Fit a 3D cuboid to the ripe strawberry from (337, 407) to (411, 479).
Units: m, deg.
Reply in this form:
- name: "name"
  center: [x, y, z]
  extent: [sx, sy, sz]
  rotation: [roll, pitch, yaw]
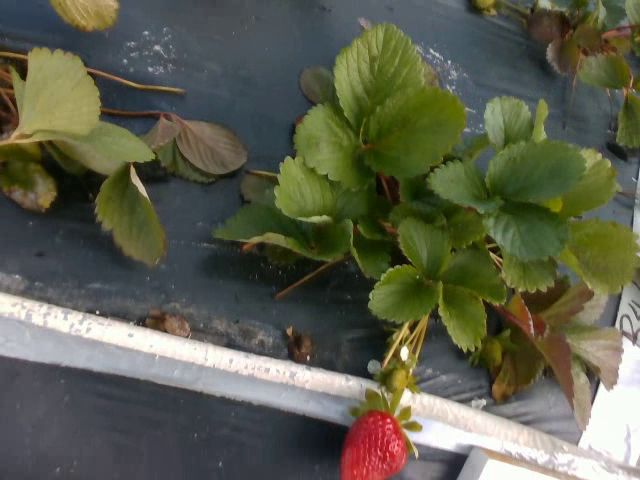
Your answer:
- name: "ripe strawberry"
  center: [0.027, 0.116, 0.305]
  extent: [0.052, 0.048, 0.030]
  rotation: [-35, 13, -31]
